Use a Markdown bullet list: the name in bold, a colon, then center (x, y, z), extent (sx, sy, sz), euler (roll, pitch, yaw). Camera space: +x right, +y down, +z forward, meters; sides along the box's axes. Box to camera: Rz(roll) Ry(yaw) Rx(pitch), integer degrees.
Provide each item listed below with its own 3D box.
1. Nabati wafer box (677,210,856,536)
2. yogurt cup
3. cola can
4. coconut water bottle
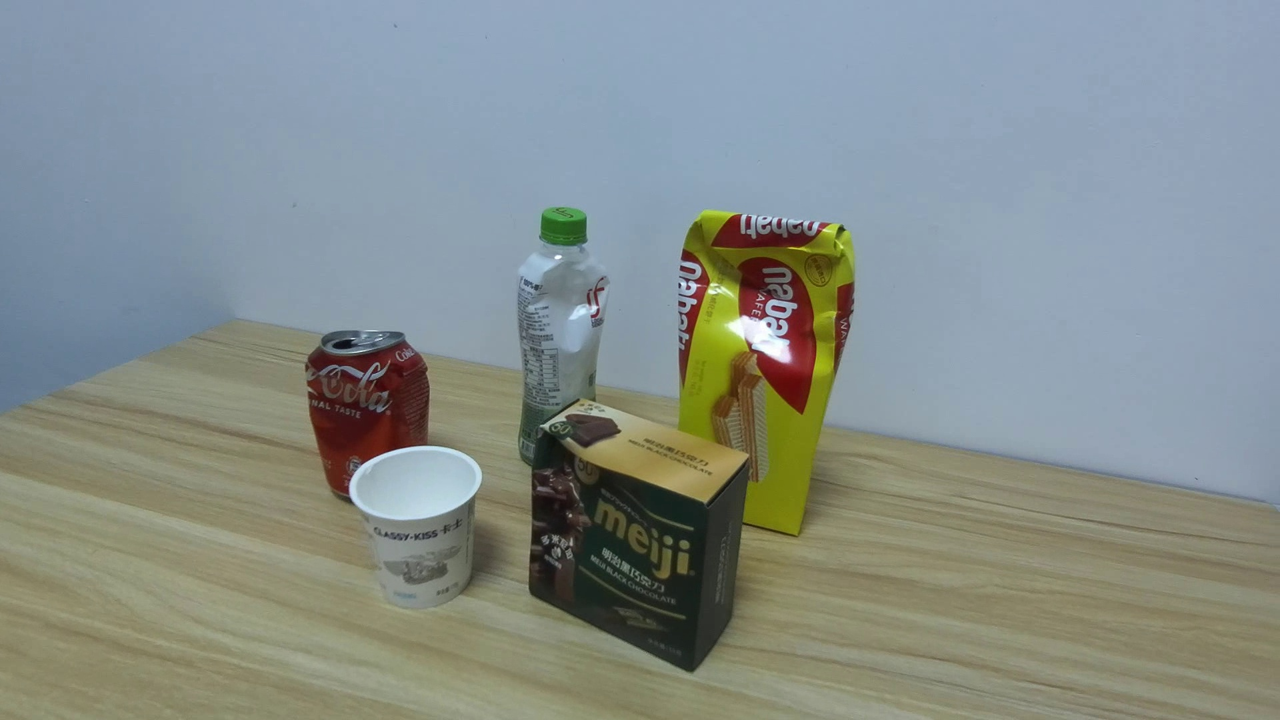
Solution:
- **Nabati wafer box**: center (0.074, 0.010, 0.455), extent (0.113, 0.205, 0.043), euler (10, 24, 17)
- **yogurt cup**: center (-0.124, 0.097, 0.403), extent (0.072, 0.068, 0.072), euler (3, 25, -1)
- **cola can**: center (-0.181, 0.037, 0.478), extent (0.069, 0.112, 0.066), euler (18, 27, 31)
- **coconut water bottle**: center (-0.057, -0.014, 0.511), extent (0.069, 0.187, 0.069), euler (4, 21, -1)
